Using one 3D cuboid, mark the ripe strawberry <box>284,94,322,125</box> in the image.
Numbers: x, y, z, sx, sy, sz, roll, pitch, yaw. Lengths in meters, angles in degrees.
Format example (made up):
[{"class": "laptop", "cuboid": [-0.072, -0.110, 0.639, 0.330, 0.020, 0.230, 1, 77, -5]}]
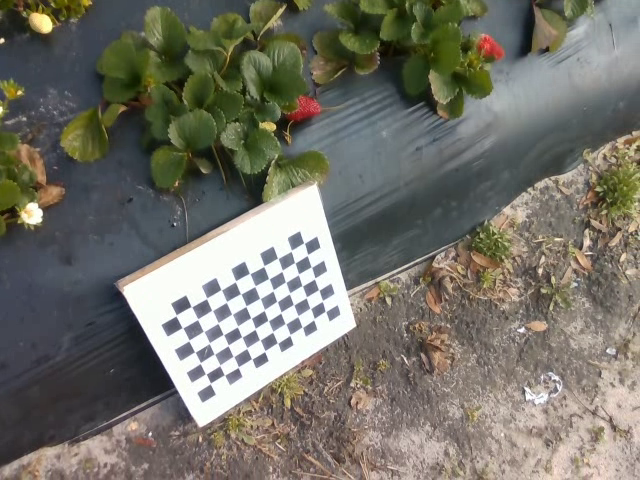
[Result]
[{"class": "ripe strawberry", "cuboid": [-0.021, -0.176, 0.844, 0.064, 0.051, 0.043, 2, 20, -34]}]
